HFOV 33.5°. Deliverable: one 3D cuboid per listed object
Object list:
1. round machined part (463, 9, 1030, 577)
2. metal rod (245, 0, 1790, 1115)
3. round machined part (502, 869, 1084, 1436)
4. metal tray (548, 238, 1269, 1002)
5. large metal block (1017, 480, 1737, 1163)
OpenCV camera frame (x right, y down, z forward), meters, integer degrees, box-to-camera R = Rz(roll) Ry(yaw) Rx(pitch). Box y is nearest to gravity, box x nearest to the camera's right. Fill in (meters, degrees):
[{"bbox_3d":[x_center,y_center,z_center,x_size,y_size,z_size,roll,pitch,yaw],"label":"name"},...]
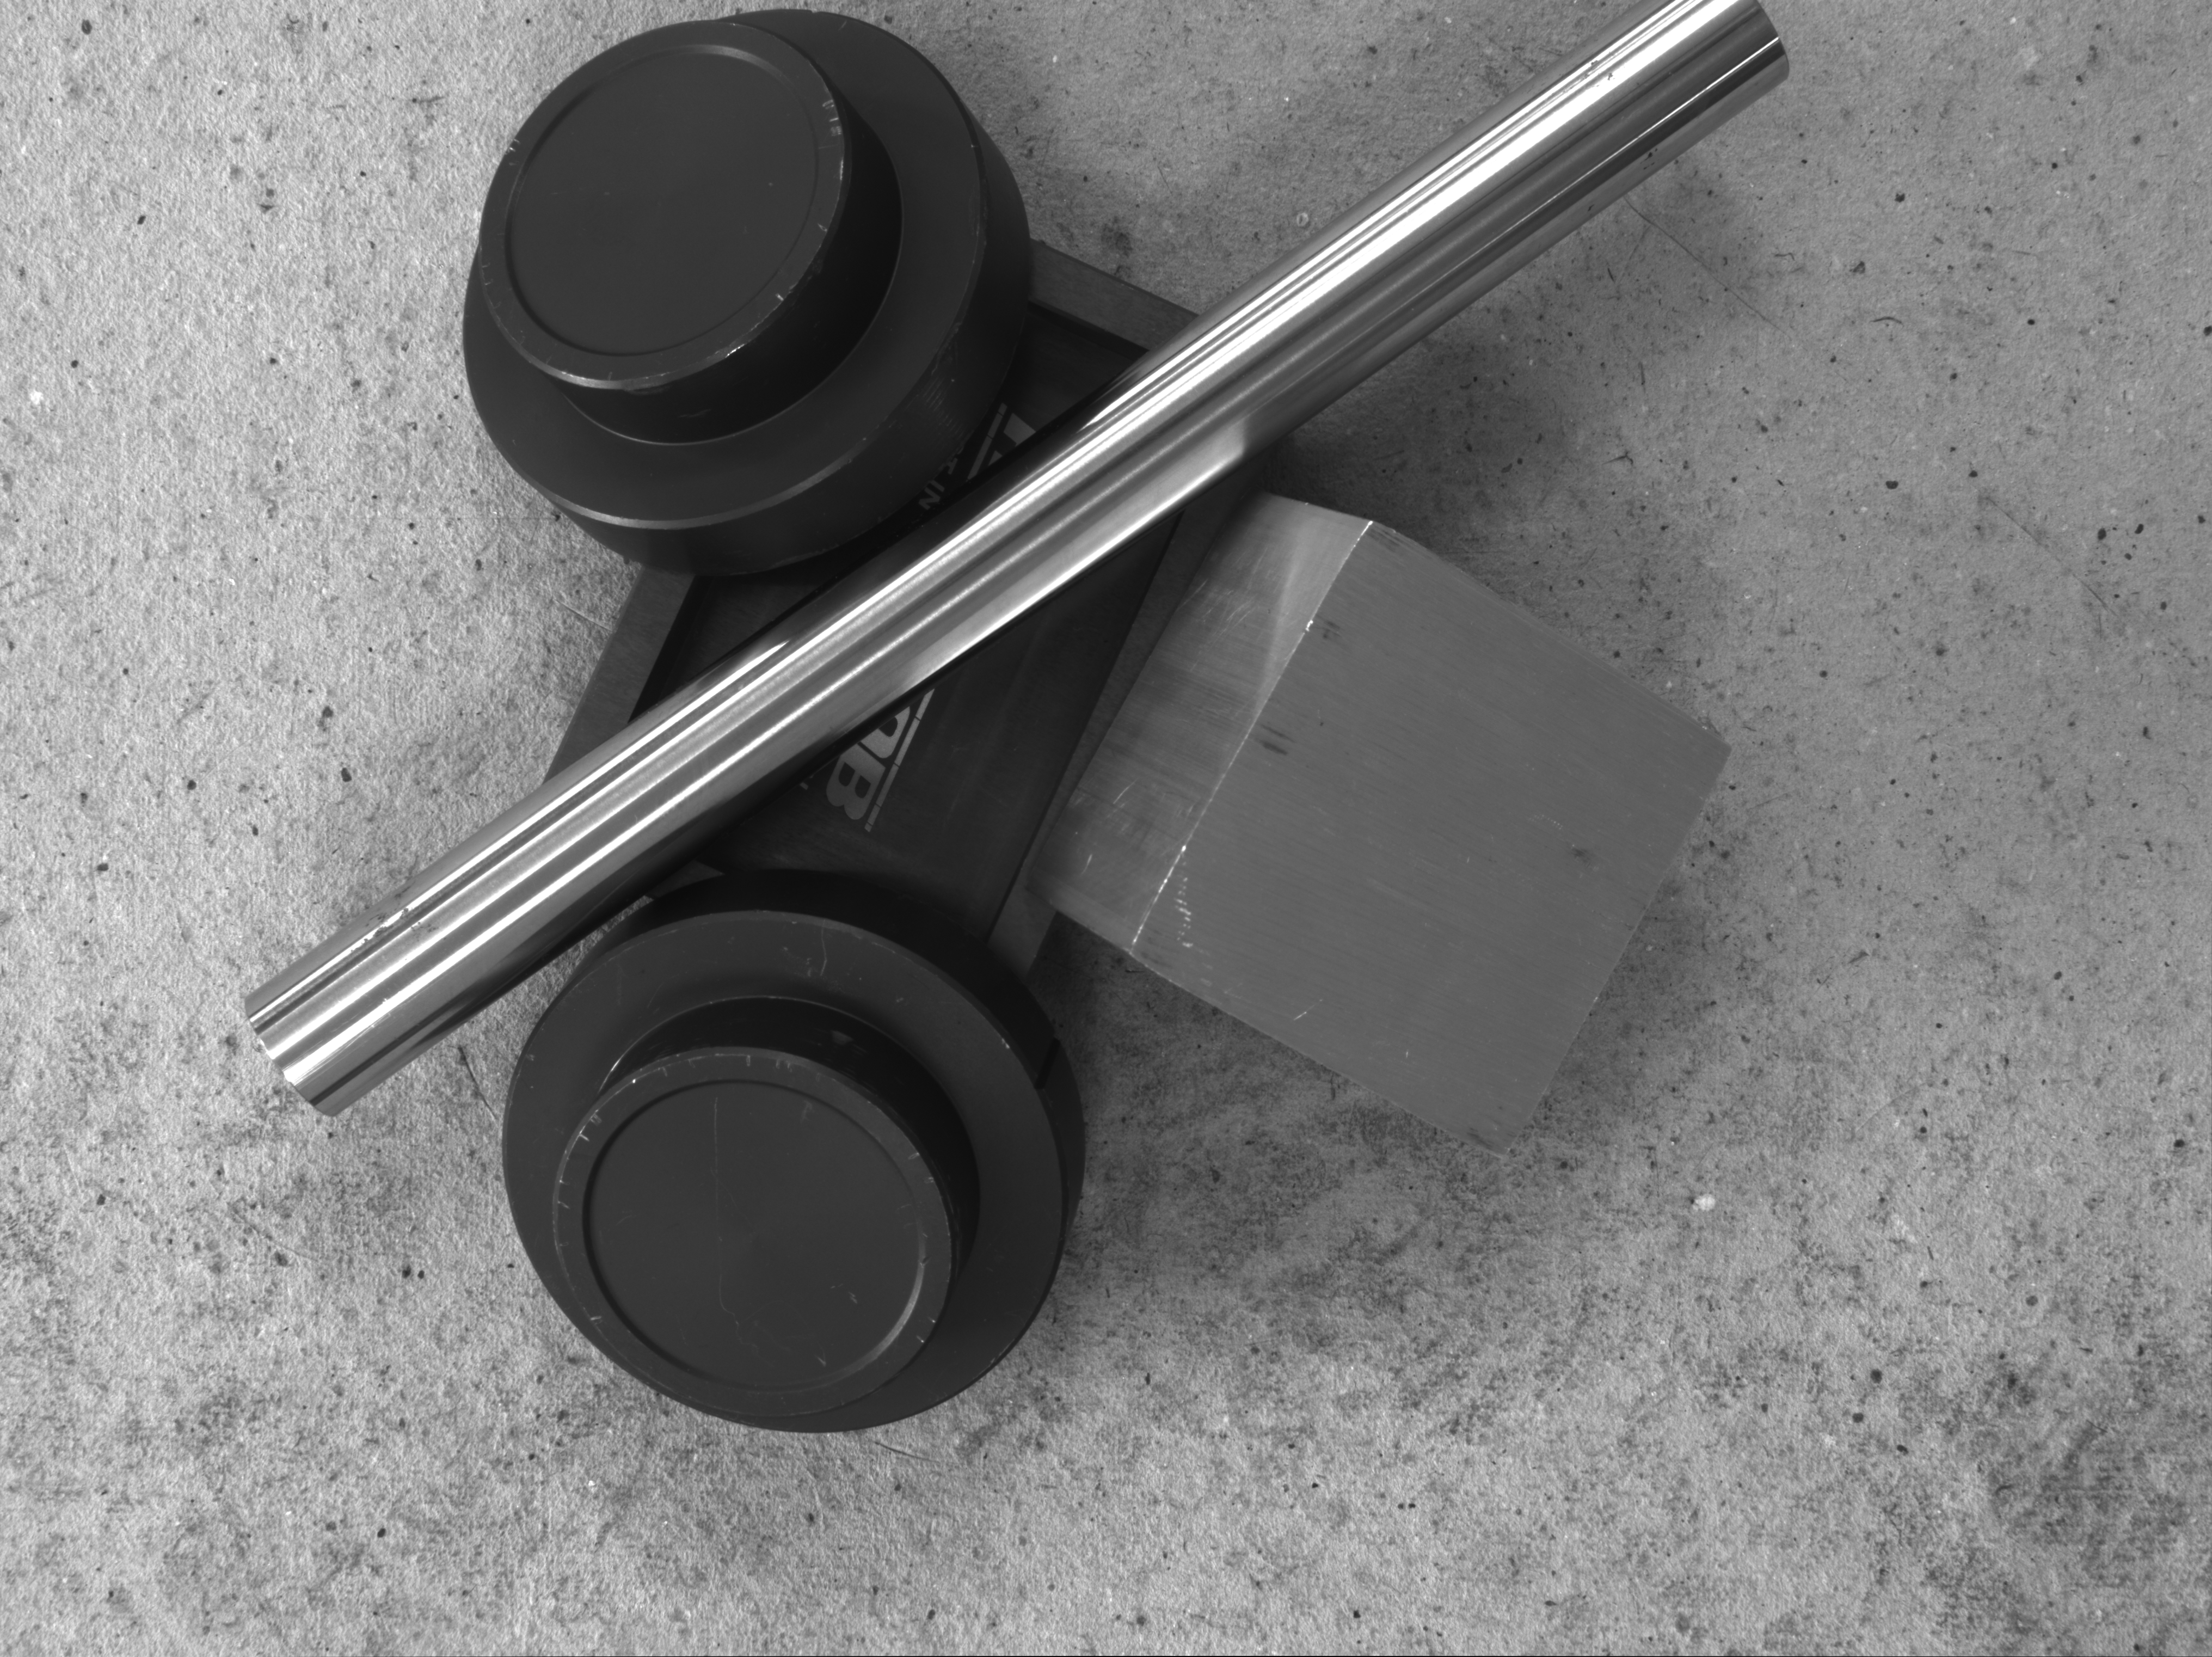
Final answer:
[{"bbox_3d":[-0.066,-0.095,0.618,0.098,0.042,0.098,-8,68,19],"label":"round machined part"},{"bbox_3d":[-0.015,-0.049,0.617,0.300,0.025,0.025,-36,90,0],"label":"metal rod"},{"bbox_3d":[-0.055,0.060,0.620,0.098,0.042,0.098,2,110,7],"label":"round machined part"},{"bbox_3d":[-0.033,-0.039,0.644,0.090,0.030,0.130,25,90,0],"label":"metal tray"},{"bbox_3d":[0.045,-0.002,0.619,0.080,0.050,0.080,29,89,-24],"label":"large metal block"}]
